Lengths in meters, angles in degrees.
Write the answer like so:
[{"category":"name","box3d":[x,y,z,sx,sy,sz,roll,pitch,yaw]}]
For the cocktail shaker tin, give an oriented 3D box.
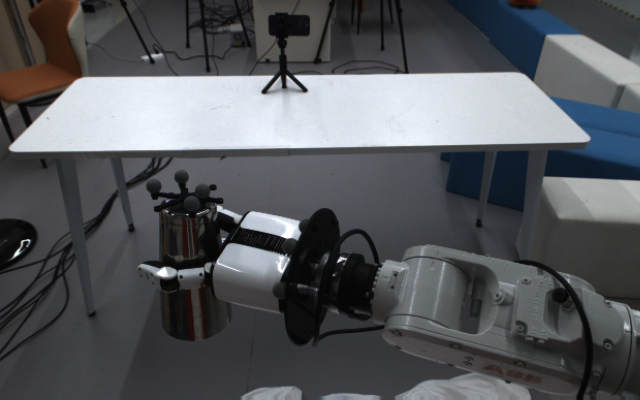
[{"category":"cocktail shaker tin","box3d":[-0.159,0.082,0.610,0.093,0.170,0.093,2,25,-1]}]
